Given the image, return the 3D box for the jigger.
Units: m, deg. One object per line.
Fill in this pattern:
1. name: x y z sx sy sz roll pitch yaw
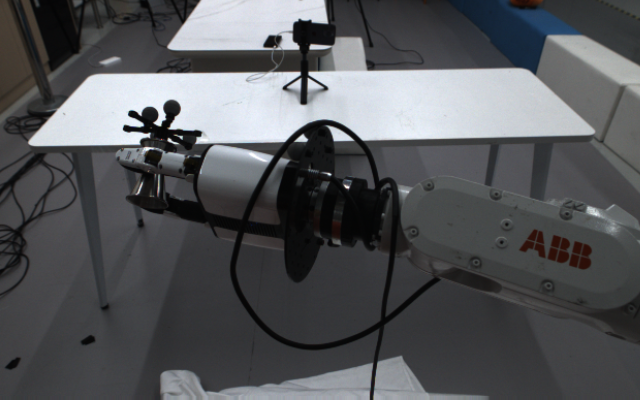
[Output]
1. jigger: -0.182 -0.029 0.528 0.043 0.043 0.071 5 71 4
